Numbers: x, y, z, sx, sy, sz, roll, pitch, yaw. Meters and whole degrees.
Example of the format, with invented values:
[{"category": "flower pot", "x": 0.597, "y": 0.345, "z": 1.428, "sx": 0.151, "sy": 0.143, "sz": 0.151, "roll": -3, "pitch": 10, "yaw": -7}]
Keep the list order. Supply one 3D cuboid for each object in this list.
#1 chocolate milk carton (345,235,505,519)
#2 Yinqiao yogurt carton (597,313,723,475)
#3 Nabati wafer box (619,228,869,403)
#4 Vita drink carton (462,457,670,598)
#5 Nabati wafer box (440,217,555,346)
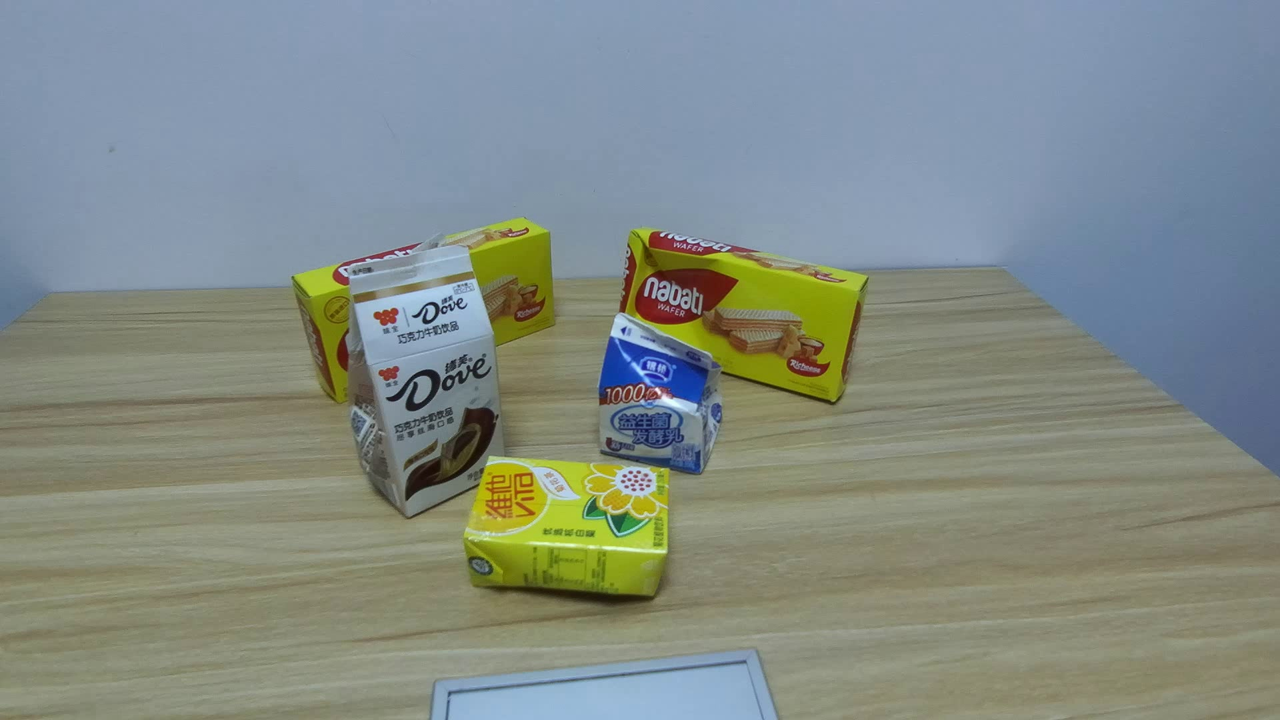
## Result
[{"category": "chocolate milk carton", "x": -0.138, "y": 0.007, "z": 0.433, "sx": 0.084, "sy": 0.155, "sz": 0.072, "roll": -24, "pitch": 40, "yaw": -34}, {"category": "Yinqiao yogurt carton", "x": 0.014, "y": 0.014, "z": 0.484, "sx": 0.083, "sy": 0.093, "sz": 0.077, "roll": 11, "pitch": 33, "yaw": 14}, {"category": "Nabati wafer box", "x": 0.075, "y": -0.040, "z": 0.574, "sx": 0.202, "sy": 0.096, "sz": 0.042, "roll": 17, "pitch": 25, "yaw": 22}, {"category": "Vita drink carton", "x": -0.039, "y": 0.097, "z": 0.401, "sx": 0.108, "sy": 0.043, "sz": 0.076, "roll": 4, "pitch": 35, "yaw": 1}, {"category": "Nabati wafer box", "x": -0.165, "y": -0.046, "z": 0.583, "sx": 0.203, "sy": 0.093, "sz": 0.042, "roll": -22, "pitch": 37, "yaw": -31}]
